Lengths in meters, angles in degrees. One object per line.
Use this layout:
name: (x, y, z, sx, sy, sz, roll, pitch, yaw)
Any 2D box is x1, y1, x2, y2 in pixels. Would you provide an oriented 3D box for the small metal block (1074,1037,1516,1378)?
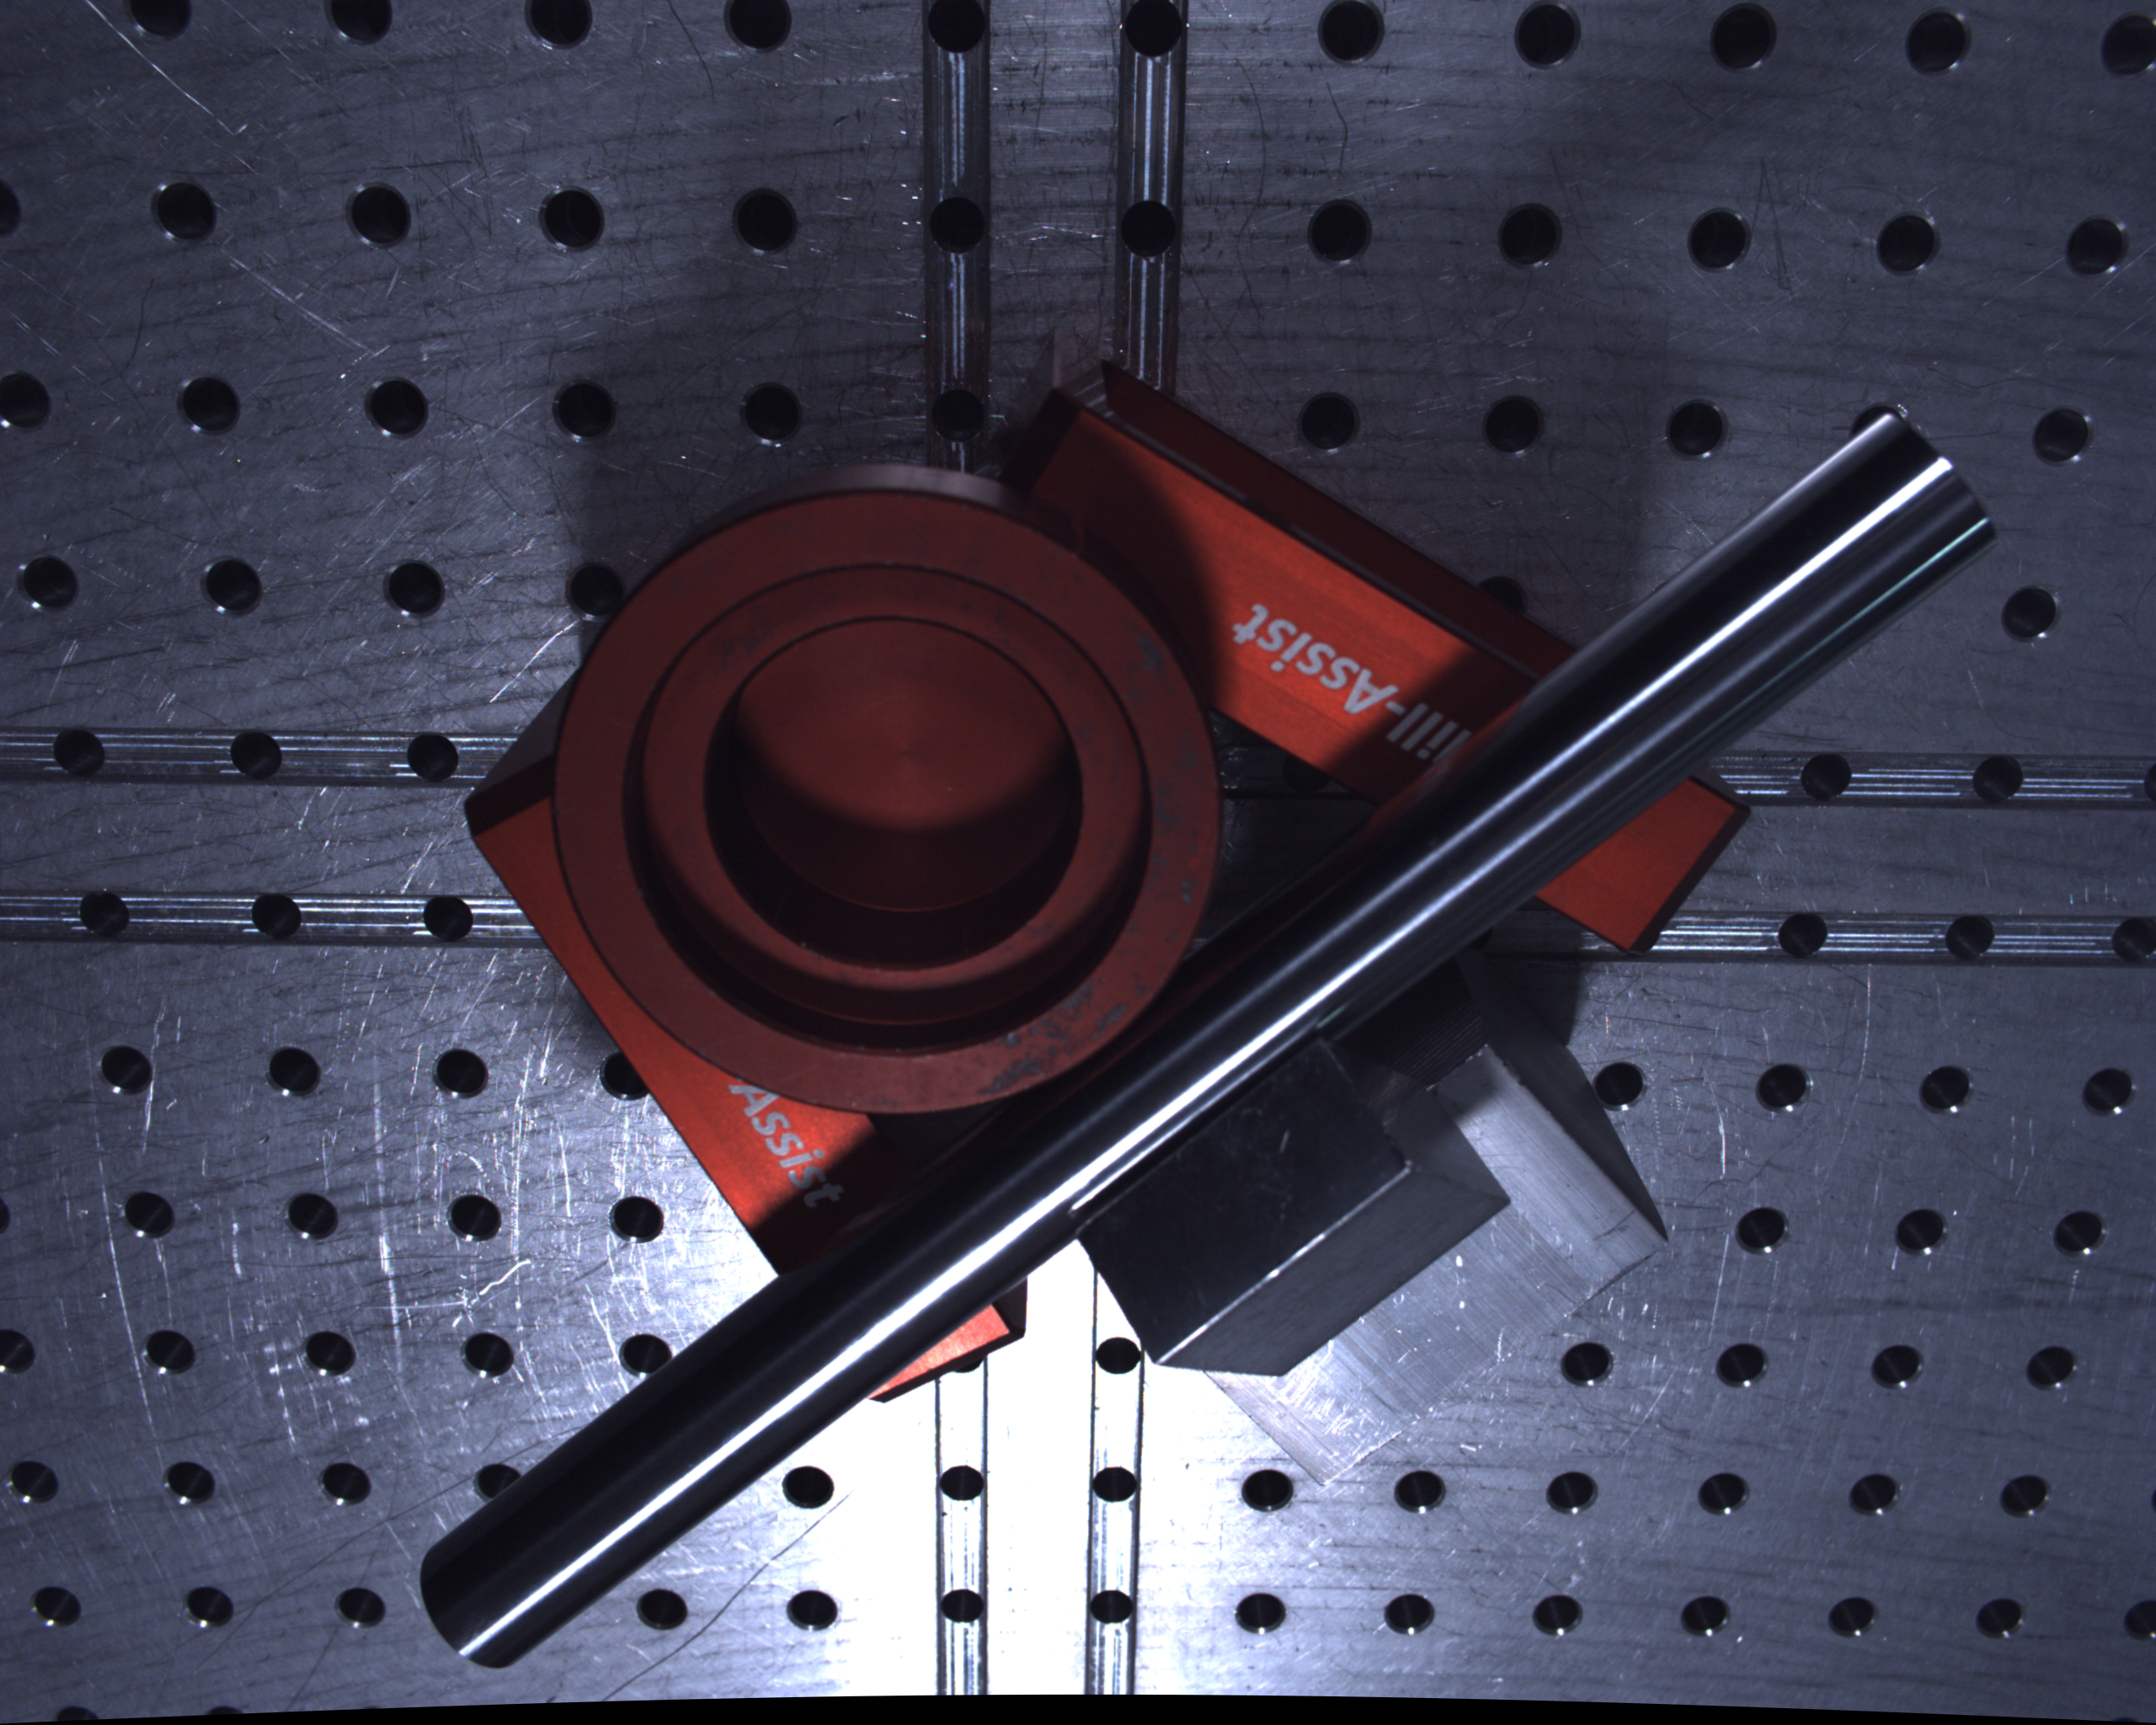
small metal block: (0.036, 0.057, 0.334, 0.050, 0.050, 0.025, -41, 61, 13)

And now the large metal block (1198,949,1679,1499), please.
large metal block: (0.058, 0.061, 0.404, 0.080, 0.080, 0.050, -39, 106, 13)

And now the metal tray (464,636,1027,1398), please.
metal tray: (-0.054, 0.022, 0.386, 0.030, 0.090, 0.130, -28, 108, 9)

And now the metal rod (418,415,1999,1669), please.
metal rod: (0.009, 0.037, 0.331, 0.300, 0.025, 0.025, -39, 106, 12)

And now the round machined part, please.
round machined part: (-0.028, -0.014, 0.325, 0.099, 0.042, 0.097, 0, 110, -1)

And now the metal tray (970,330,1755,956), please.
metal tray: (0.045, -0.042, 0.363, 0.131, 0.090, 0.030, 30, 108, -11)
